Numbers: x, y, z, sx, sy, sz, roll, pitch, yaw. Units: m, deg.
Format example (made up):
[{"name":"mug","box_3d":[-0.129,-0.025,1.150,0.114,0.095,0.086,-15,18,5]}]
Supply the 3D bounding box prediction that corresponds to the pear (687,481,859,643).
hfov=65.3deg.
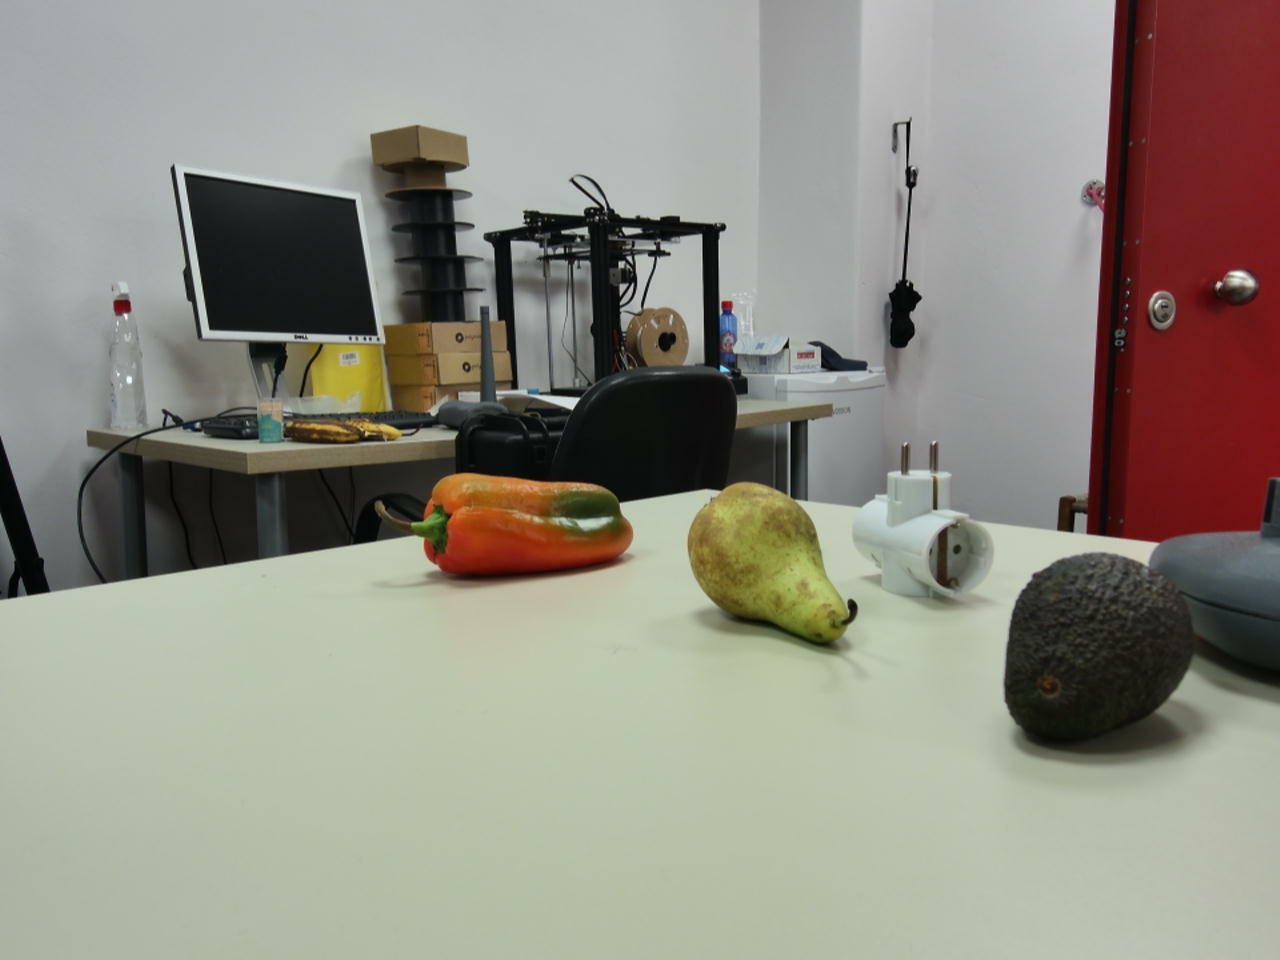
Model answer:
[{"name":"pear","box_3d":[0.083,0.042,0.533,0.071,0.075,0.144,-4,7,-35]}]
